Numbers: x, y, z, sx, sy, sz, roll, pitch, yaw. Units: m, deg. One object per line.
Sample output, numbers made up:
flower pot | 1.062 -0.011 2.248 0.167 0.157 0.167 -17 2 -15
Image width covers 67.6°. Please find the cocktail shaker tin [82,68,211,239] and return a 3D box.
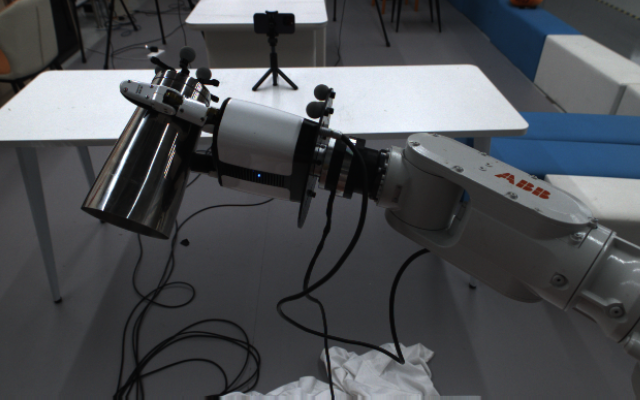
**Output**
cocktail shaker tin | -0.178 -0.054 0.530 0.093 0.093 0.170 12 72 14
